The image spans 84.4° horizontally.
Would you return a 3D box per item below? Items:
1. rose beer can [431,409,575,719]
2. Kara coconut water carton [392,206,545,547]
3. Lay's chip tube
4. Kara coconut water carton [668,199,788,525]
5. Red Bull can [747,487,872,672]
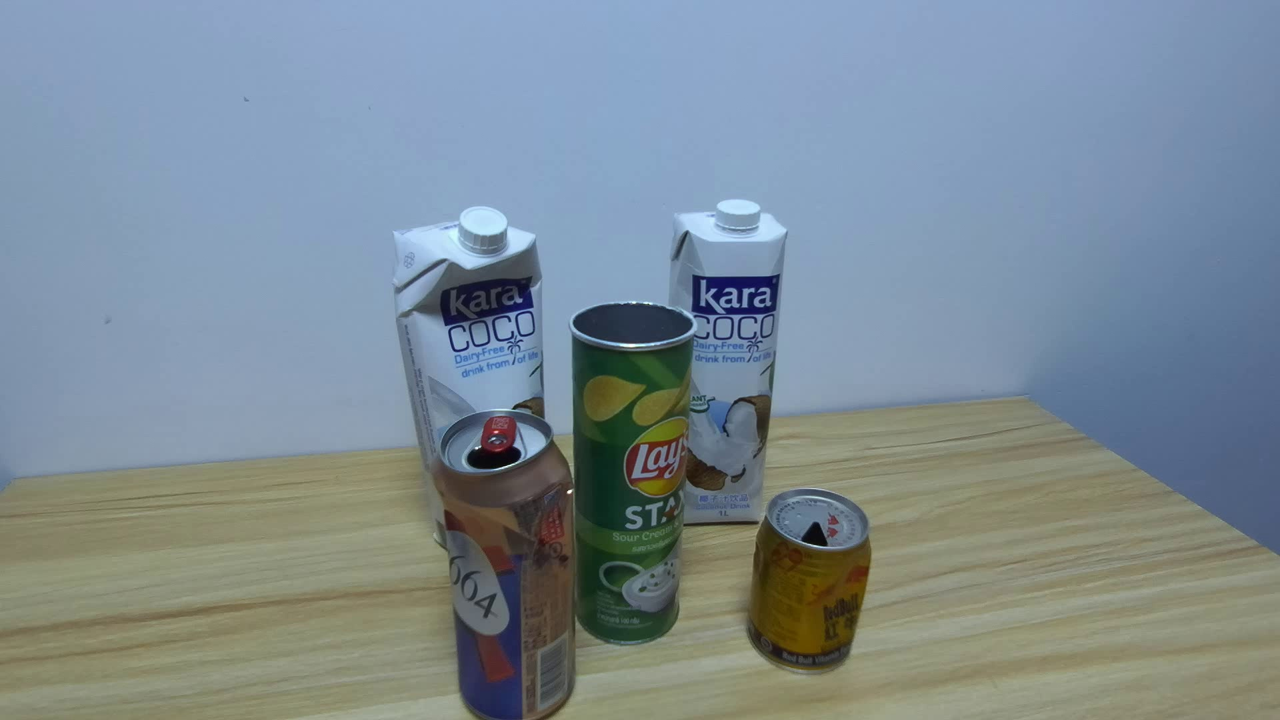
[{"bbox_3d":[-0.071,0.113,0.374,0.065,0.167,0.075,-15,30,-28],"label":"rose beer can"},{"bbox_3d":[-0.109,0.017,0.491,0.071,0.244,0.100,19,31,39],"label":"Kara coconut water carton"},{"bbox_3d":[-0.005,0.070,0.427,0.071,0.202,0.071,1,24,0],"label":"Lay's chip tube"},{"bbox_3d":[0.061,0.004,0.528,0.077,0.245,0.075,-1,22,-2],"label":"Kara coconut water carton"},{"bbox_3d":[0.101,0.132,0.428,0.069,0.092,0.069,2,24,0],"label":"Red Bull can"}]
